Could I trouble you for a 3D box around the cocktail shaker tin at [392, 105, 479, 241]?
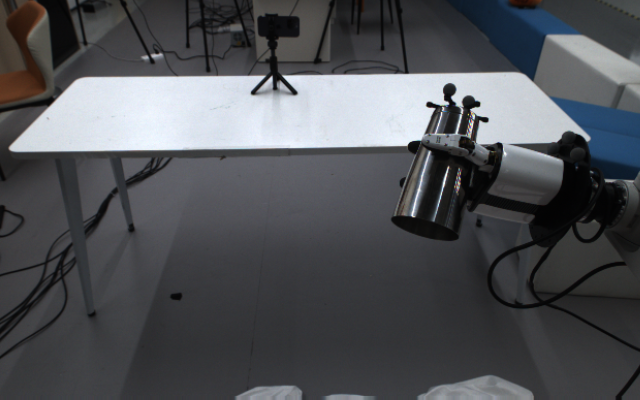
[{"bbox_3d":[0.166,-0.040,0.663,0.093,0.093,0.170,15,75,17],"label":"cocktail shaker tin"}]
